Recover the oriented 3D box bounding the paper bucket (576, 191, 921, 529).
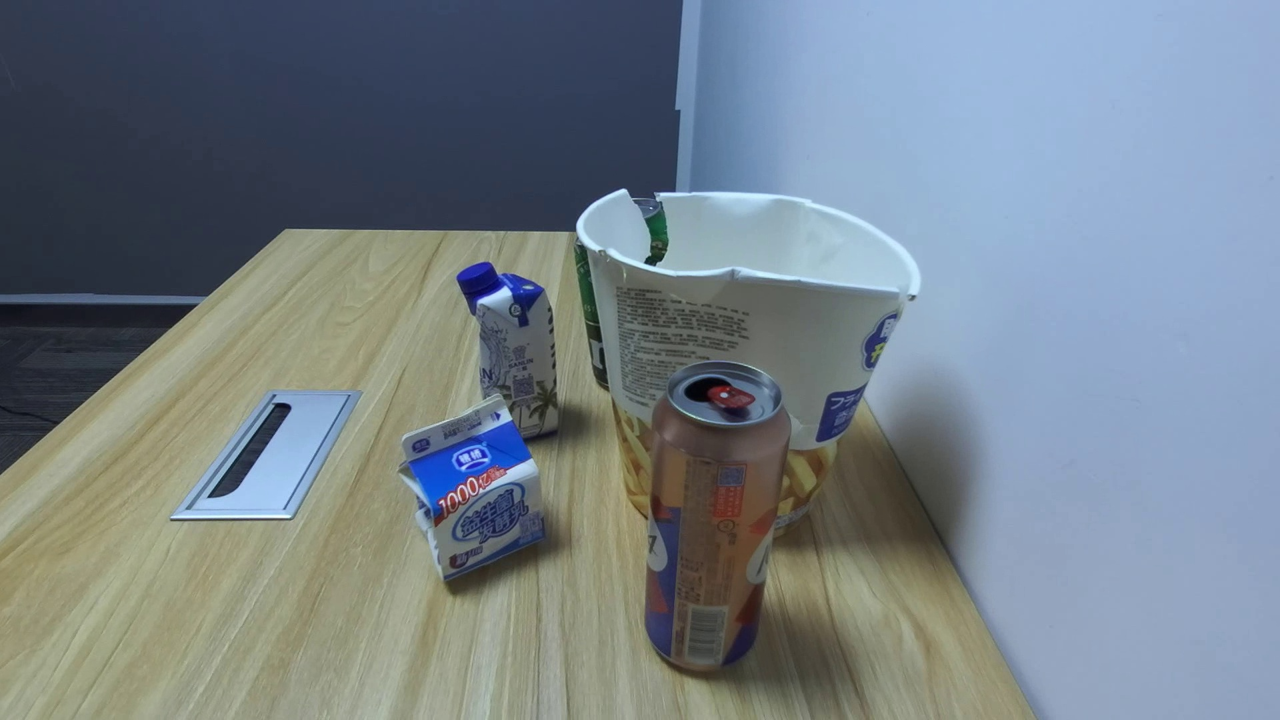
[{"bbox_3d":[0.059,0.001,0.482,0.202,0.197,0.146,5,30,5],"label":"paper bucket"}]

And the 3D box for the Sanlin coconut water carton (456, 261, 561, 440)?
[{"bbox_3d":[-0.099,-0.010,0.553,0.070,0.144,0.060,-11,31,-18],"label":"Sanlin coconut water carton"}]

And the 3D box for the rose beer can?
[{"bbox_3d":[0.038,0.087,0.372,0.068,0.169,0.068,1,31,0],"label":"rose beer can"}]

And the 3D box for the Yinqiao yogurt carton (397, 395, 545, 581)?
[{"bbox_3d":[-0.114,0.075,0.458,0.075,0.097,0.080,-20,28,-31],"label":"Yinqiao yogurt carton"}]
